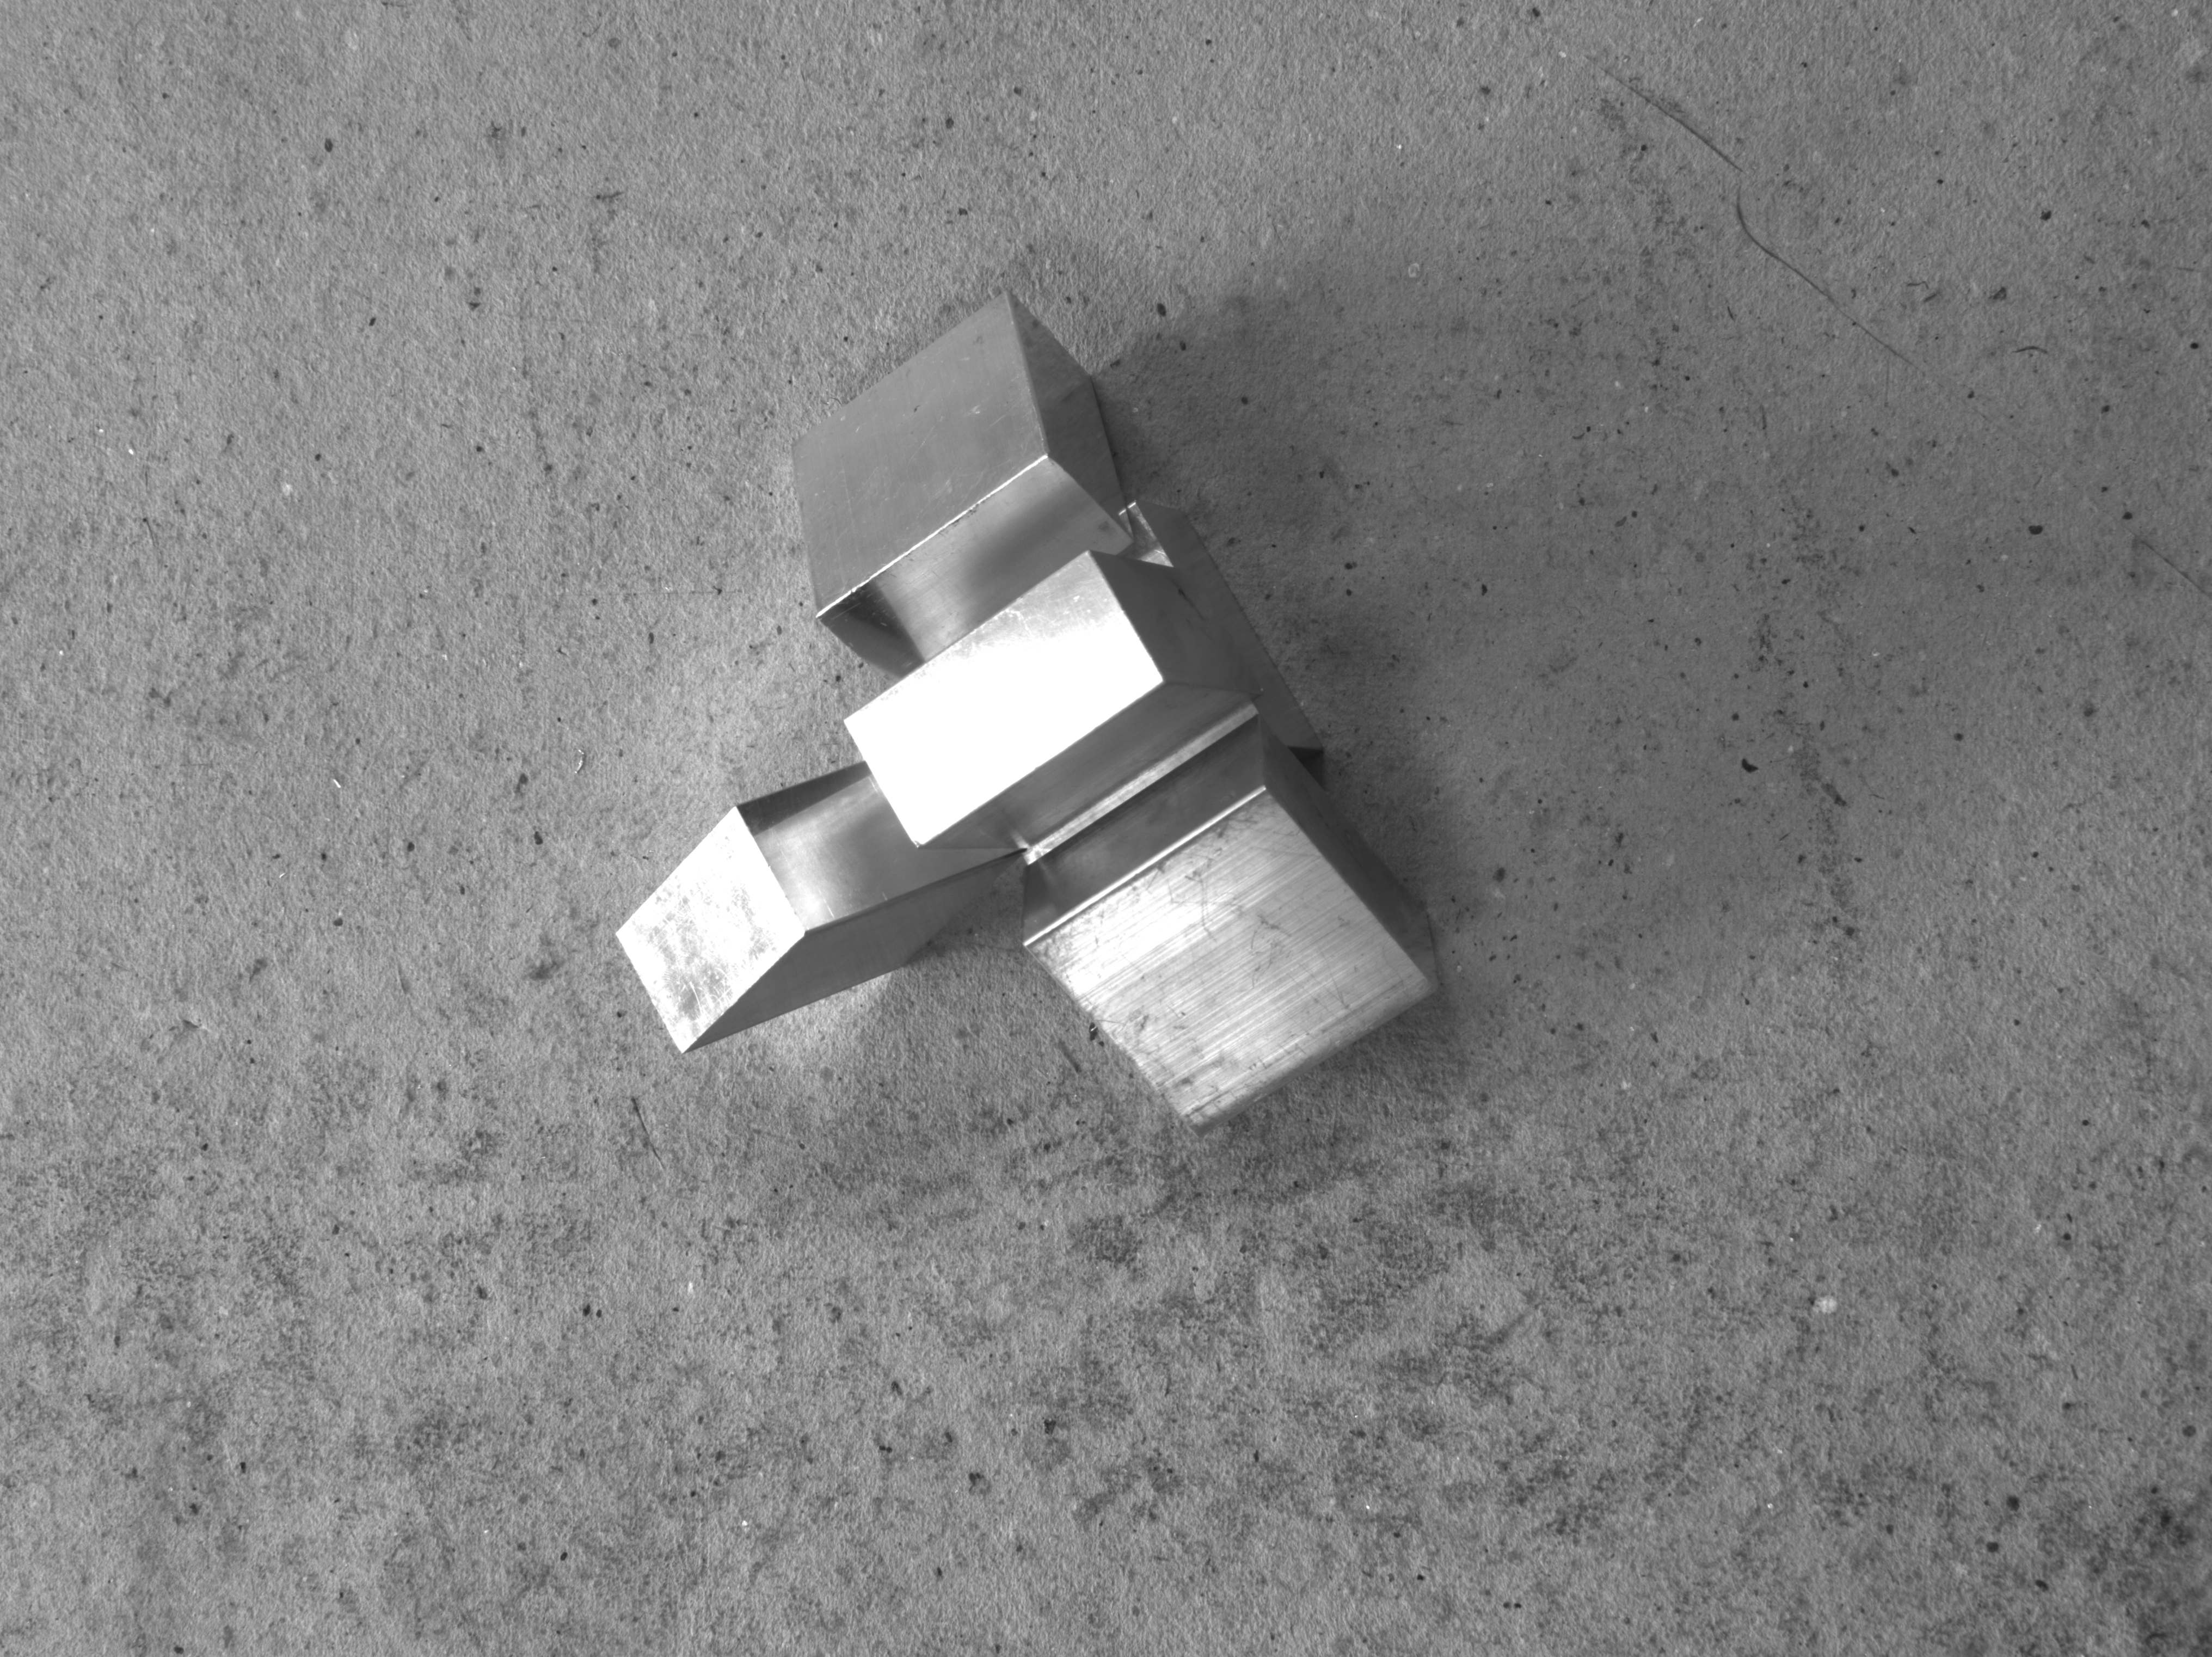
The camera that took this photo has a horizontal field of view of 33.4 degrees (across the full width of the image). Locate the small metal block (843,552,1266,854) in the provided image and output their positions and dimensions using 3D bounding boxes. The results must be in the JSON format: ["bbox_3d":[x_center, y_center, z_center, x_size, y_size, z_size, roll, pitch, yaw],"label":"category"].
[{"bbox_3d":[-0.008,-0.020,0.610,0.050,0.050,0.025,-34,79,17],"label":"small metal block"}]

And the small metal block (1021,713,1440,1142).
[{"bbox_3d":[0.021,0.017,0.626,0.050,0.025,0.050,-34,115,17],"label":"small metal block"}]

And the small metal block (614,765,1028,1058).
[{"bbox_3d":[-0.050,0.011,0.642,0.050,0.050,0.025,-41,75,49],"label":"small metal block"}]

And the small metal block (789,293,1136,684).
[{"bbox_3d":[-0.026,-0.058,0.643,0.050,0.025,0.050,-33,39,17],"label":"small metal block"}]

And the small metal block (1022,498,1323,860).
[{"bbox_3d":[0.001,-0.022,0.647,0.050,0.025,0.050,-34,79,19],"label":"small metal block"}]
